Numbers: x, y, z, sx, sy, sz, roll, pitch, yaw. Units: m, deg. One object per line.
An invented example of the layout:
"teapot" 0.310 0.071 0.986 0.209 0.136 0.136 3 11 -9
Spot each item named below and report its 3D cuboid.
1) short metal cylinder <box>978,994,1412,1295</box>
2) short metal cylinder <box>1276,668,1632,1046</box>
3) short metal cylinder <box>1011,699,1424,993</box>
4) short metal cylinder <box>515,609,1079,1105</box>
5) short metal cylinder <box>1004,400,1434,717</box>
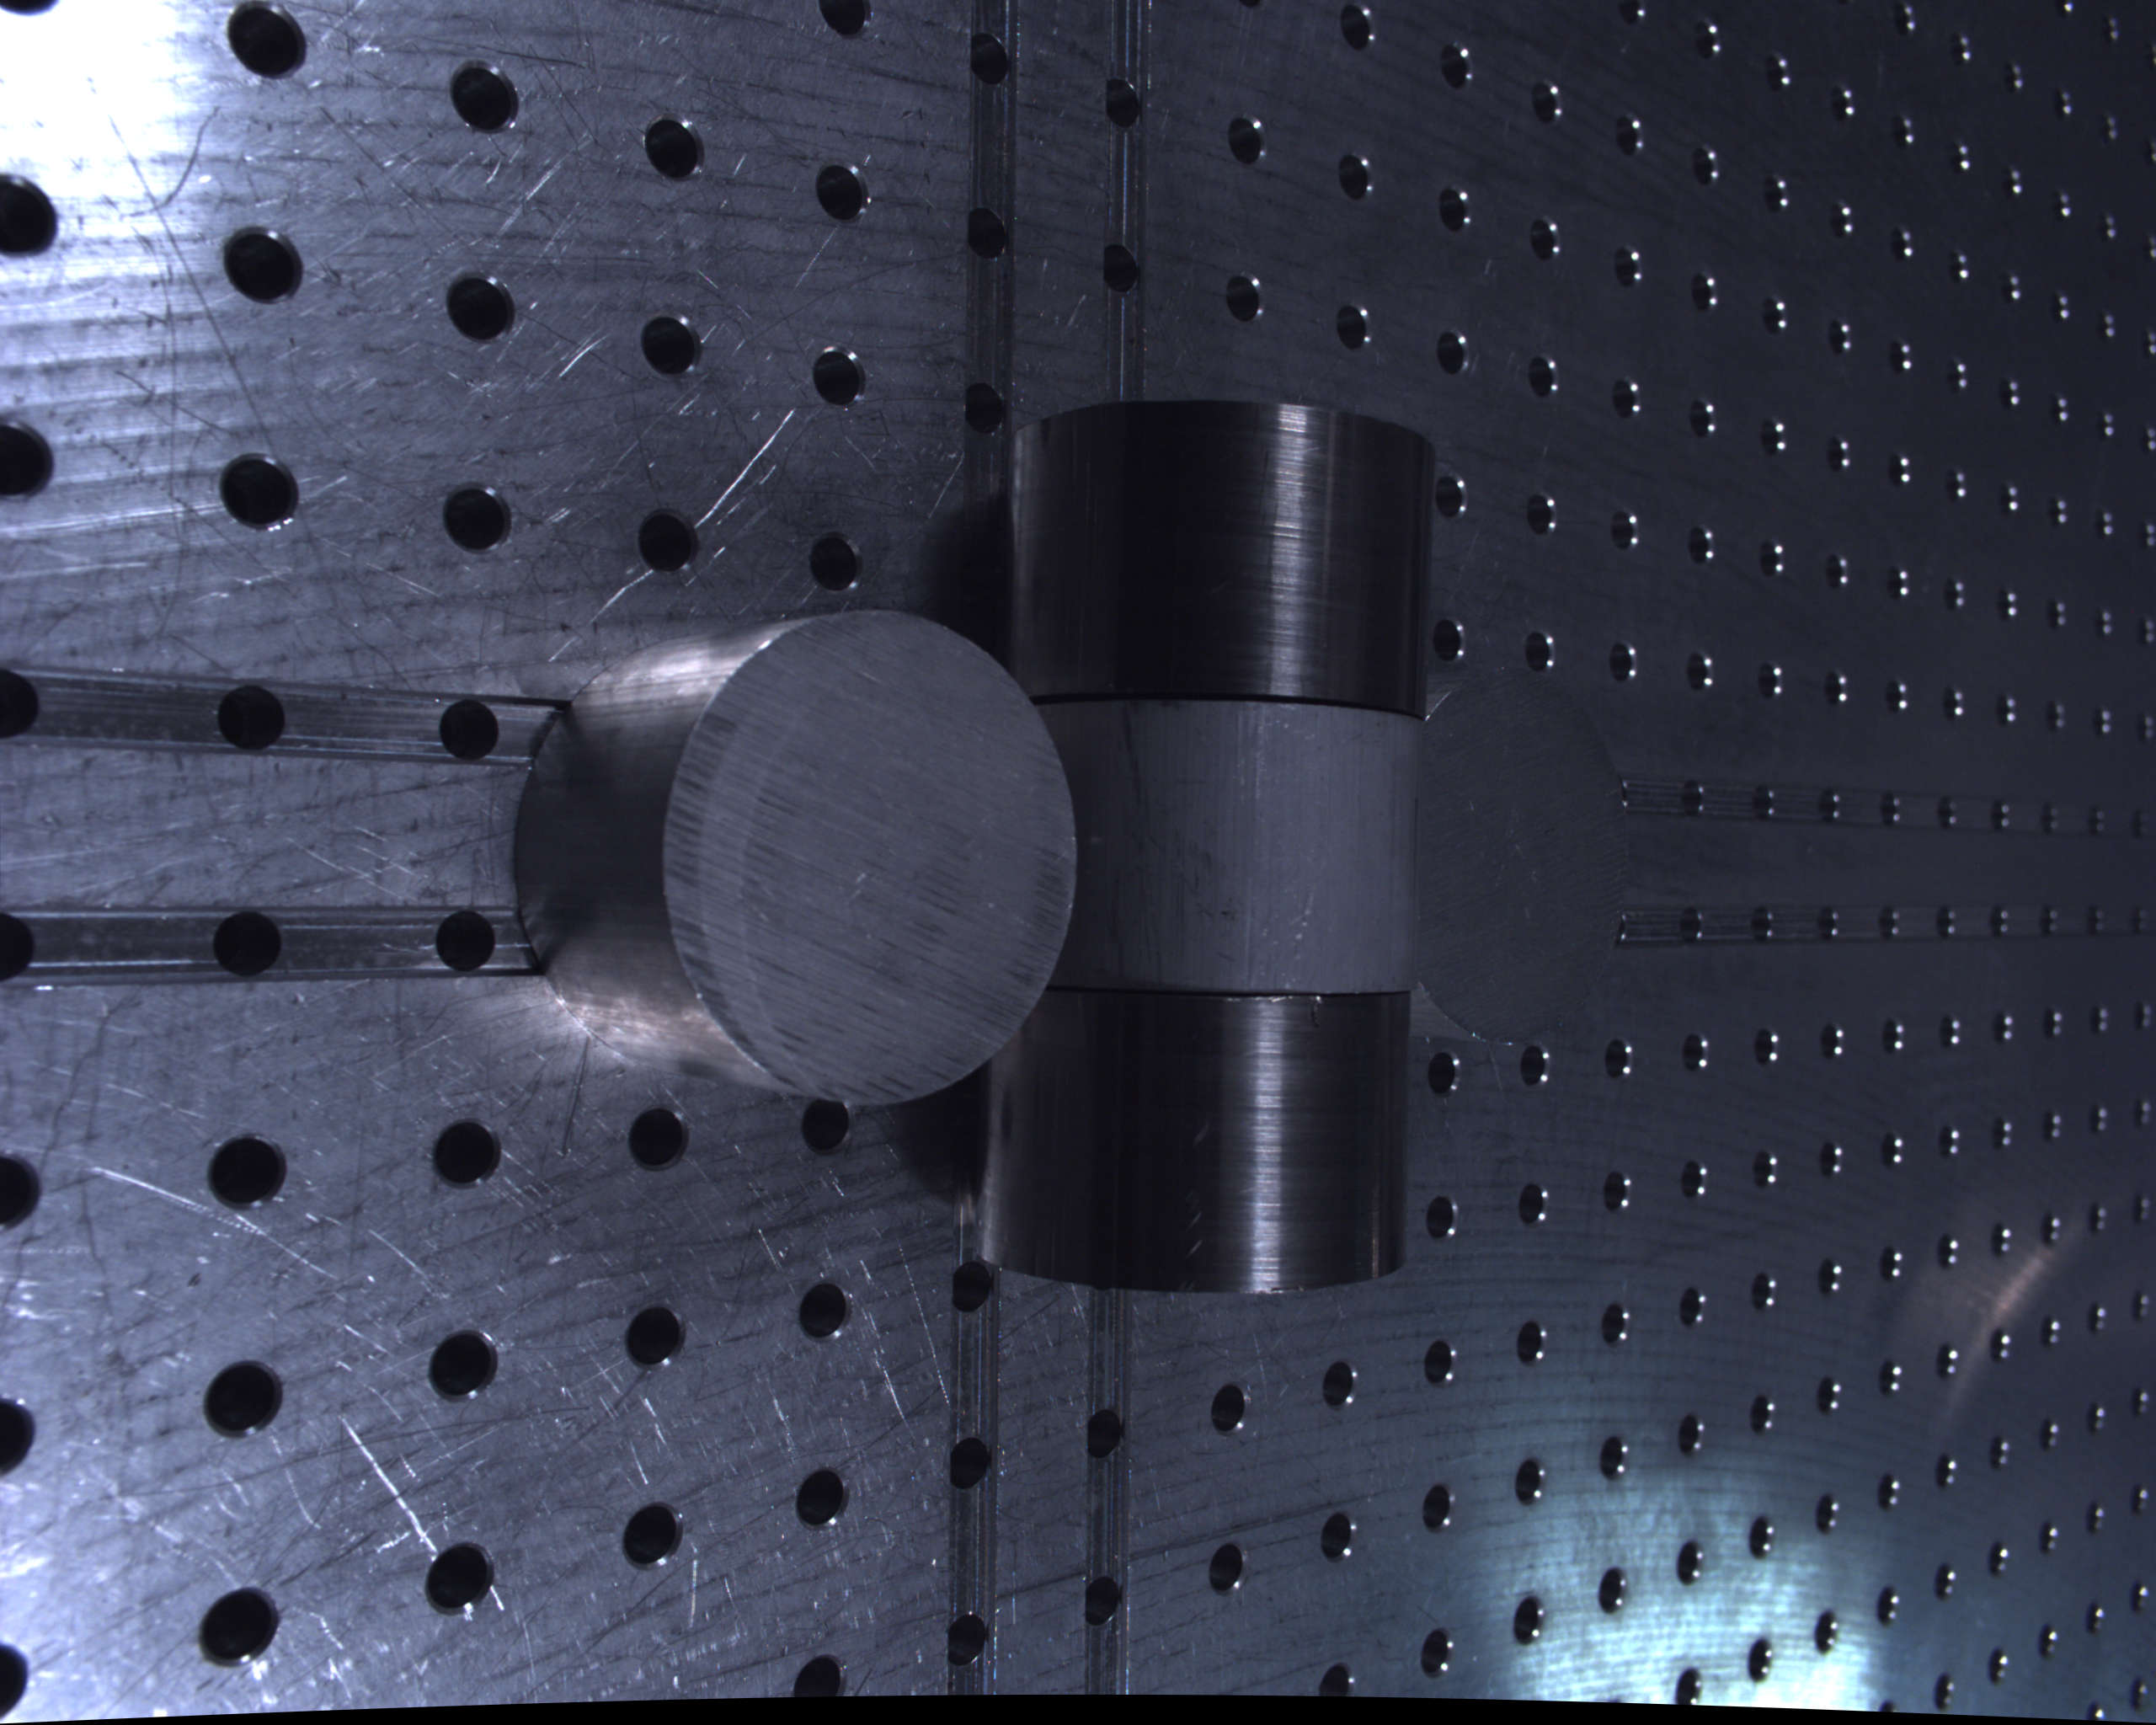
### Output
"short metal cylinder" 0.022 0.049 0.393 0.081 0.080 0.050 2 89 -40
"short metal cylinder" 0.077 -0.001 0.459 0.081 0.050 0.079 0 90 -40
"short metal cylinder" 0.025 -0.002 0.395 0.081 0.080 0.050 2 89 -40
"short metal cylinder" -0.047 -0.001 0.354 0.081 0.050 0.079 0 90 -40
"short metal cylinder" 0.027 -0.053 0.397 0.081 0.080 0.050 3 88 -40
